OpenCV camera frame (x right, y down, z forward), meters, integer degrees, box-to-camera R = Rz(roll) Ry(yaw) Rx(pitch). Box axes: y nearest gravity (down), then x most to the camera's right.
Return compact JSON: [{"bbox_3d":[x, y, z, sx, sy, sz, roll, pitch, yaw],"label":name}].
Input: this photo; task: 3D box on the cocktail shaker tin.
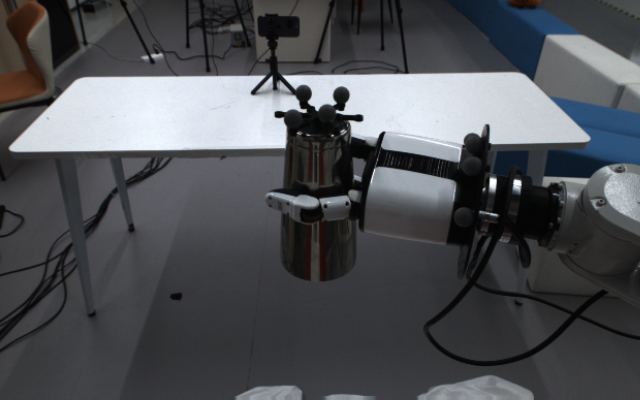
[{"bbox_3d":[0.001,-0.006,0.535,0.093,0.170,0.093,0,33,0],"label":"cocktail shaker tin"}]
